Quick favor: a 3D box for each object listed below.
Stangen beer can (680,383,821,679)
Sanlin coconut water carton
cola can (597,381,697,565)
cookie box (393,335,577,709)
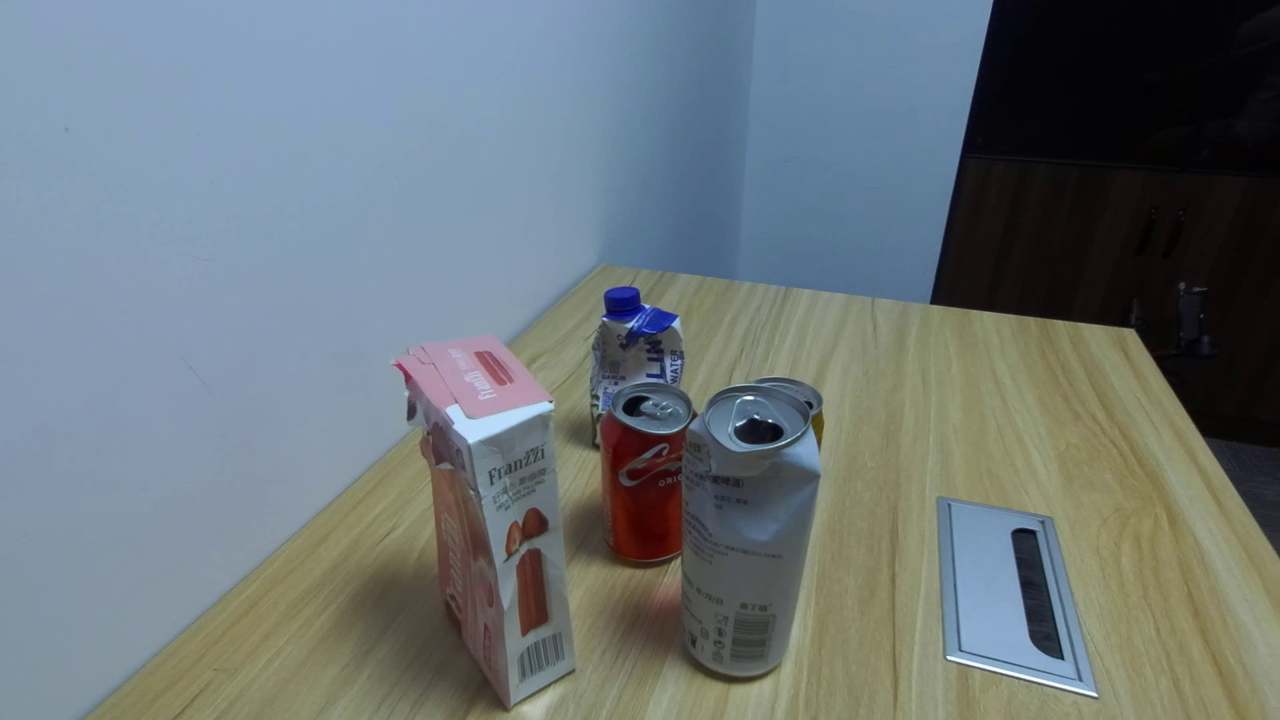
[{"bbox_3d":[0.058,0.099,0.392,0.066,0.166,0.065,-4,29,-7],"label":"Stangen beer can"},{"bbox_3d":[-0.004,0.013,0.578,0.068,0.145,0.057,21,40,22],"label":"Sanlin coconut water carton"},{"bbox_3d":[0.008,0.076,0.492,0.072,0.117,0.065,-11,29,-19],"label":"cola can"},{"bbox_3d":[-0.082,0.091,0.390,0.060,0.186,0.104,-16,31,-30],"label":"cookie box"}]
